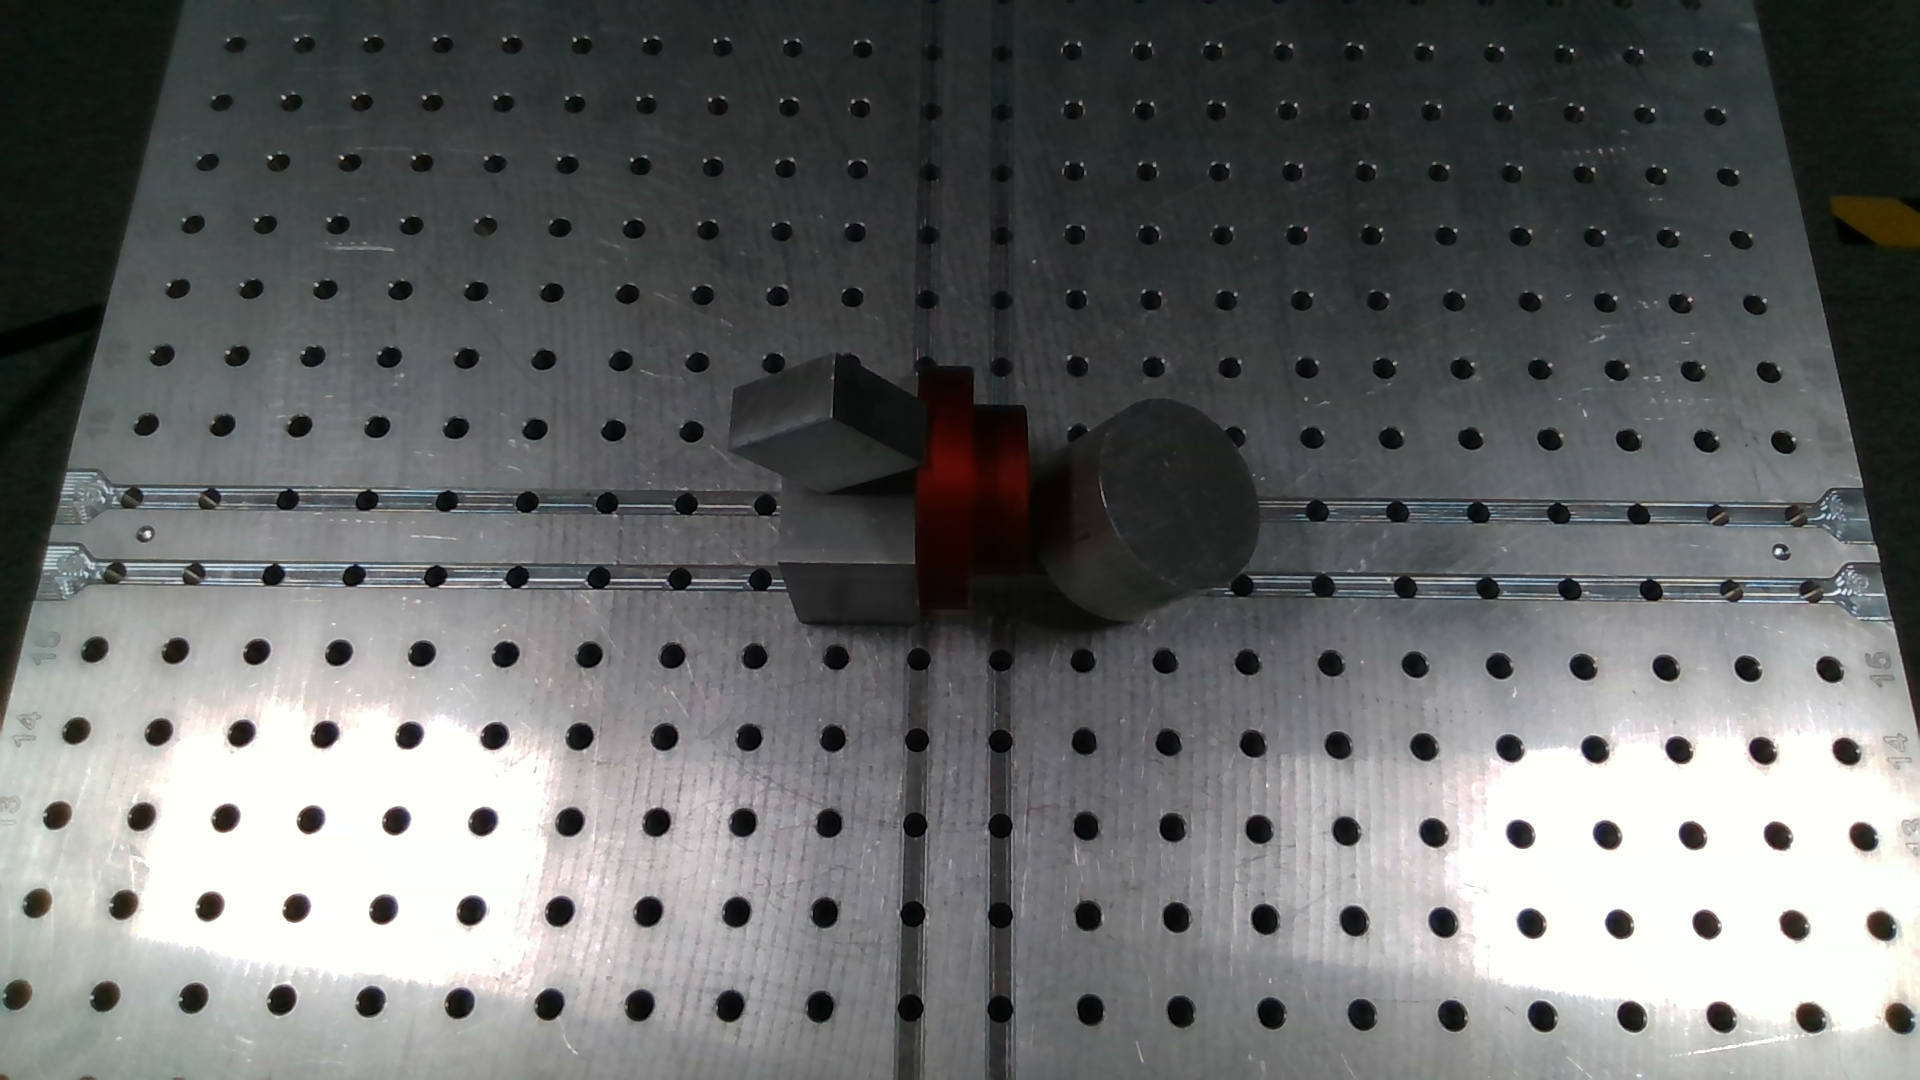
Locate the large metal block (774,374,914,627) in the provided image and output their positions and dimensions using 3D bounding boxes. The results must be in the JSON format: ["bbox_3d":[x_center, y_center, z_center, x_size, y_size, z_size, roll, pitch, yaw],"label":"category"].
[{"bbox_3d":[-0.044,-0.014,0.565,0.050,0.080,0.080,1,70,0],"label":"large metal block"}]

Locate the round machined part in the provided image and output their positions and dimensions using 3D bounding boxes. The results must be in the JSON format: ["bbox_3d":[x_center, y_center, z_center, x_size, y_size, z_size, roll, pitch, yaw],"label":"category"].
[{"bbox_3d":[0.004,-0.020,0.548,0.042,0.098,0.098,1,70,0],"label":"round machined part"}]

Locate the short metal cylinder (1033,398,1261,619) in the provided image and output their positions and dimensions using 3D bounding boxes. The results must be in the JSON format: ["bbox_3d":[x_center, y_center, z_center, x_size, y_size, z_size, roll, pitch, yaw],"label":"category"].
[{"bbox_3d":[0.076,-0.011,0.564,0.080,0.050,0.080,11,68,-28],"label":"short metal cylinder"}]

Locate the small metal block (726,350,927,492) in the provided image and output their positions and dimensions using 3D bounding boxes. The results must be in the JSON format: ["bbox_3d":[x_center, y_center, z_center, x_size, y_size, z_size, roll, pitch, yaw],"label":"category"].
[{"bbox_3d":[-0.047,-0.041,0.495,0.050,0.050,0.025,-14,66,36],"label":"small metal block"}]

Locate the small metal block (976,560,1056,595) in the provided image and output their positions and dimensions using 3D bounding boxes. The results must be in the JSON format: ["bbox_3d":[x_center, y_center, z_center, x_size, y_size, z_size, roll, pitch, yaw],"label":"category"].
[{"bbox_3d":[0.029,-0.004,0.591,0.050,0.025,0.050,1,70,0],"label":"small metal block"}]
